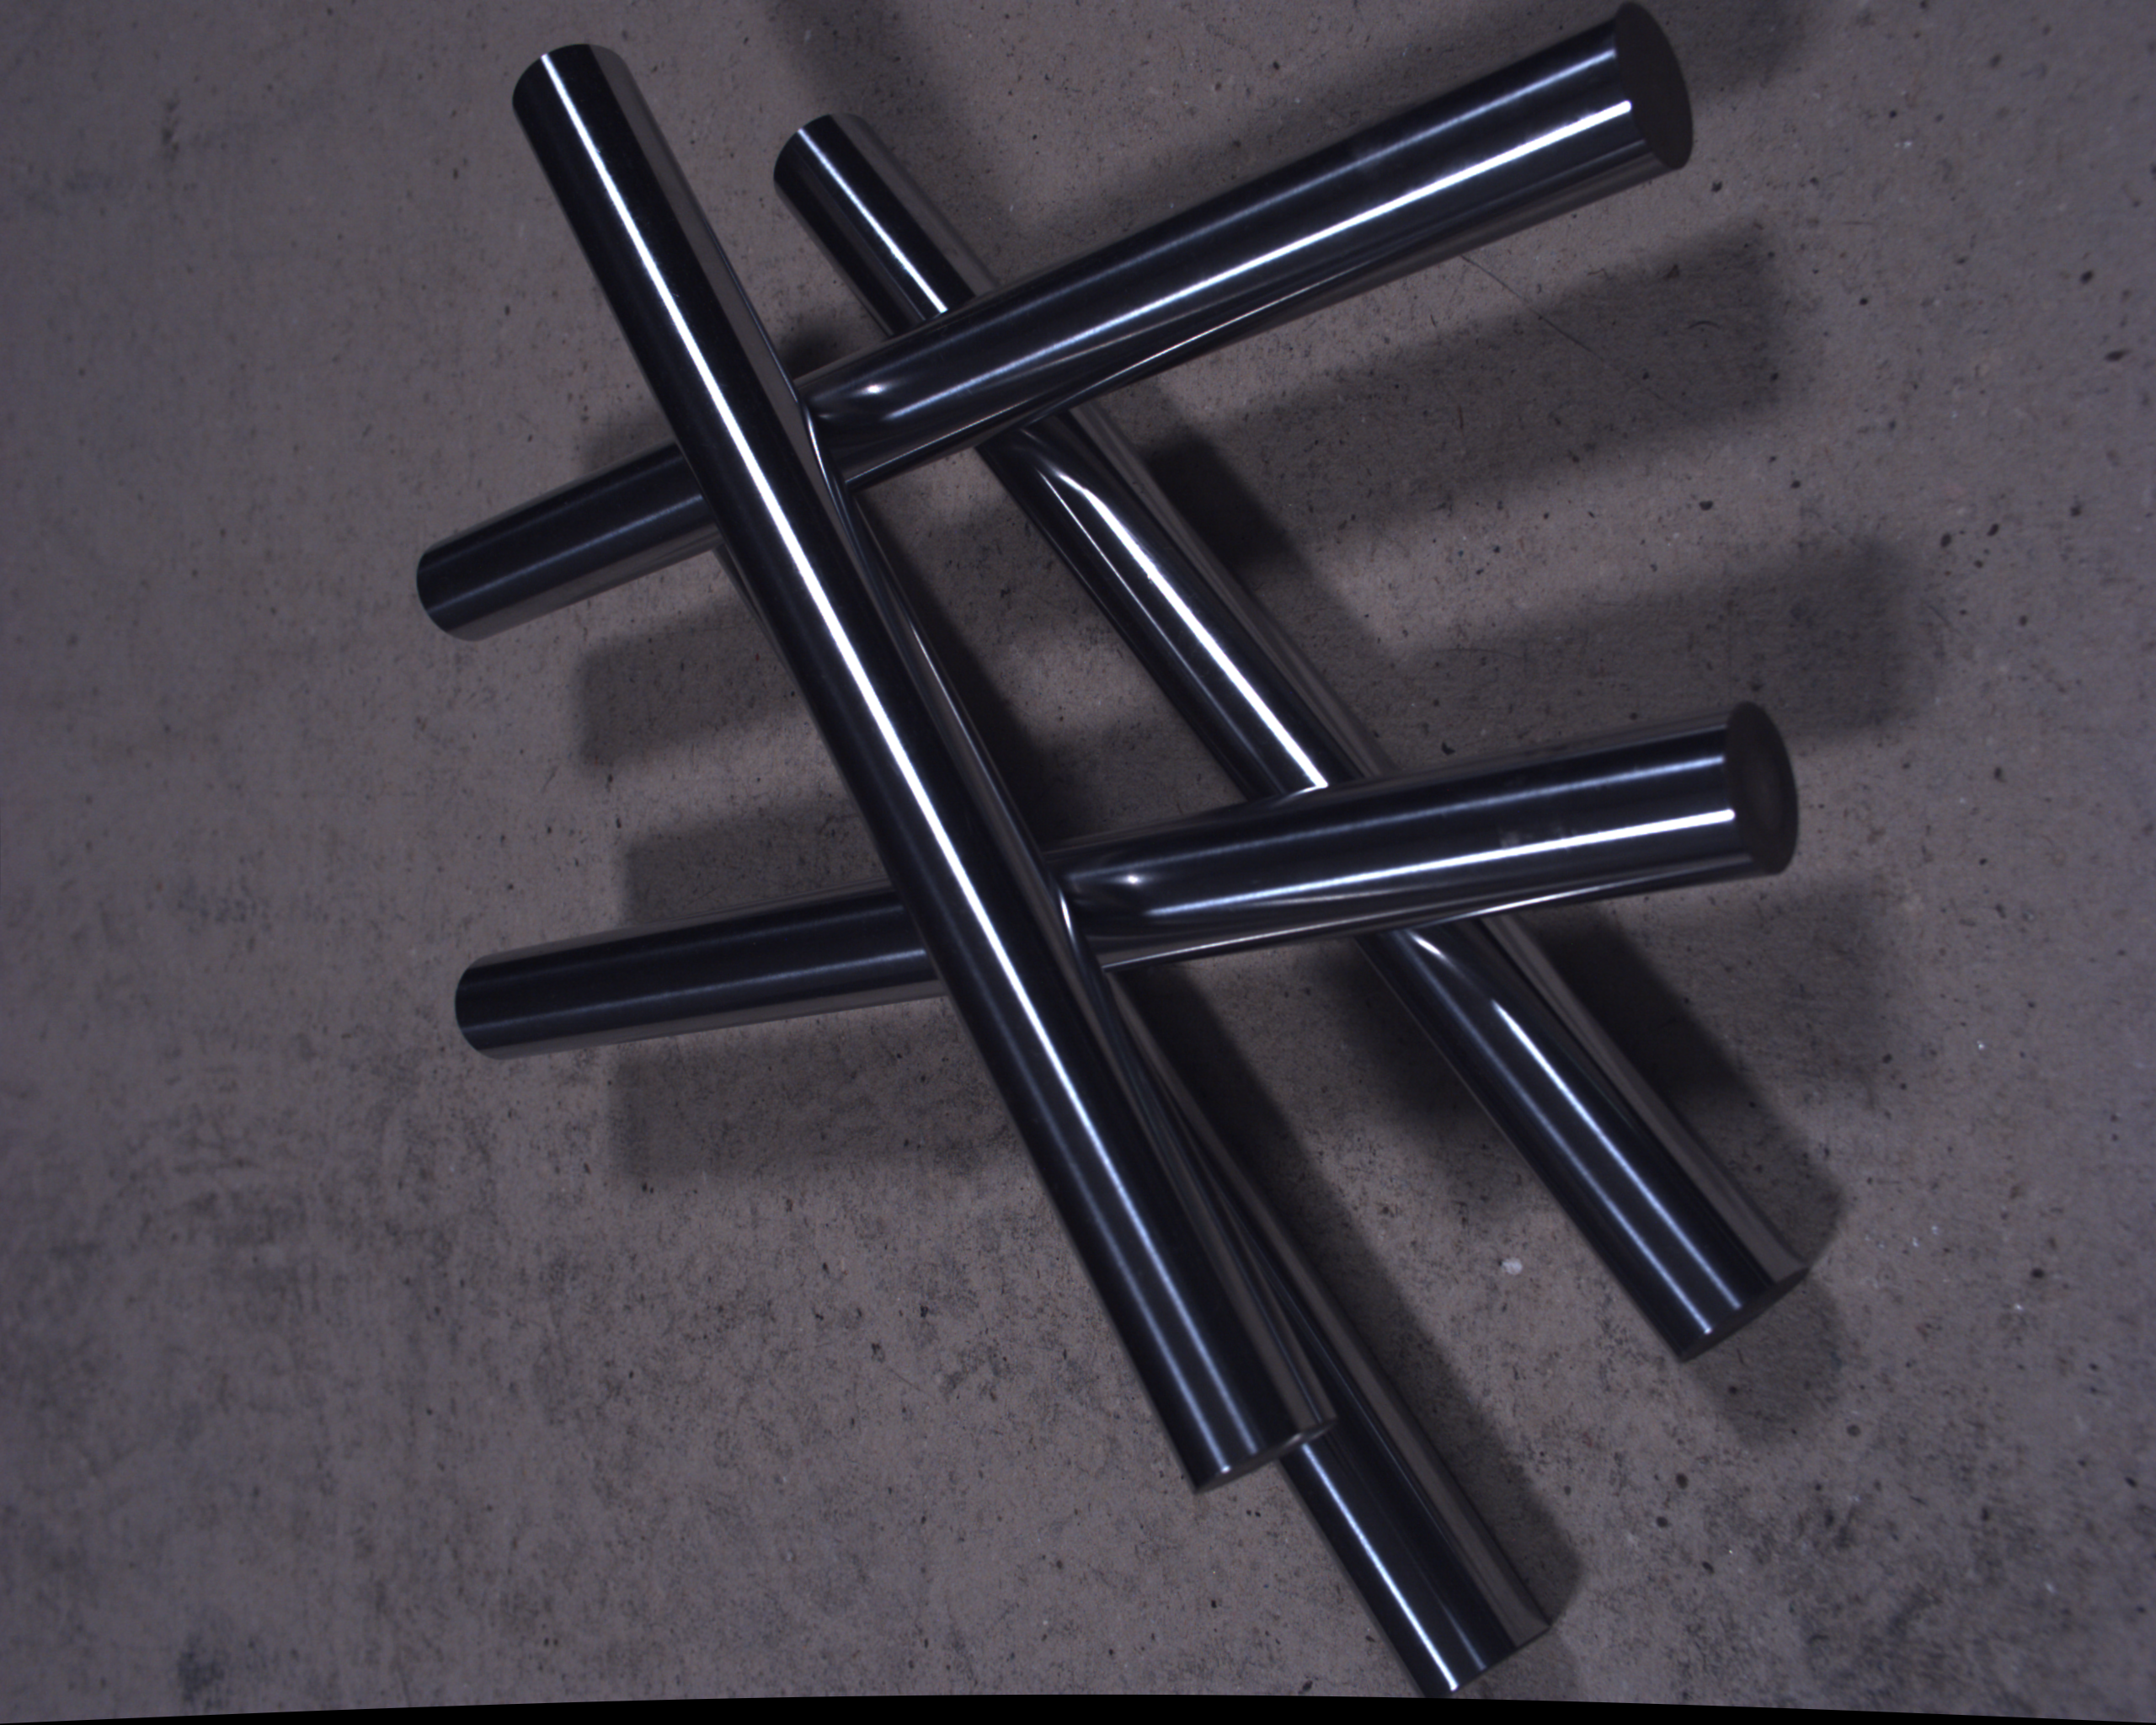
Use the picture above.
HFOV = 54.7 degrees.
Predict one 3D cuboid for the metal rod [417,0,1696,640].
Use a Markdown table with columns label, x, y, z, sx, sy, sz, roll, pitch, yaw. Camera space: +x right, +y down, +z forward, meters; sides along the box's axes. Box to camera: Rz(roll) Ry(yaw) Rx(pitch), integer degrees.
| label | x | y | z | sx | sy | sz | roll | pitch | yaw |
| --- | --- | --- | --- | --- | --- | --- | --- | --- | --- |
| metal rod | -0.030 | -0.089 | 0.397 | 0.300 | 0.025 | 0.025 | -12 | 83 | 39 |

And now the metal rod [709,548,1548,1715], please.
| label | x | y | z | sx | sy | sz | roll | pitch | yaw |
| --- | --- | --- | --- | --- | --- | --- | --- | --- | --- |
| metal rod | -0.007 | 0.022 | 0.410 | 0.025 | 0.025 | 0.299 | -48 | 62 | 29 |

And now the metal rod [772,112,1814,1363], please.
| label | x | y | z | sx | sy | sz | roll | pitch | yaw |
| --- | --- | --- | --- | --- | --- | --- | --- | --- | --- |
| metal rod | 0.024 | -0.040 | 0.384 | 0.025 | 0.025 | 0.299 | -50 | 61 | 28 |

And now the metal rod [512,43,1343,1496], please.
| label | x | y | z | sx | sy | sz | roll | pitch | yaw |
| --- | --- | --- | --- | --- | --- | --- | --- | --- | --- |
| metal rod | -0.037 | -0.033 | 0.370 | 0.025 | 0.025 | 0.299 | -42 | 65 | 32 |

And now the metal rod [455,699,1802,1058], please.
| label | x | y | z | sx | sy | sz | roll | pitch | yaw |
| --- | --- | --- | --- | --- | --- | --- | --- | --- | --- |
| metal rod | -0.018 | 0.011 | 0.387 | 0.300 | 0.025 | 0.025 | -11 | 83 | 39 |
